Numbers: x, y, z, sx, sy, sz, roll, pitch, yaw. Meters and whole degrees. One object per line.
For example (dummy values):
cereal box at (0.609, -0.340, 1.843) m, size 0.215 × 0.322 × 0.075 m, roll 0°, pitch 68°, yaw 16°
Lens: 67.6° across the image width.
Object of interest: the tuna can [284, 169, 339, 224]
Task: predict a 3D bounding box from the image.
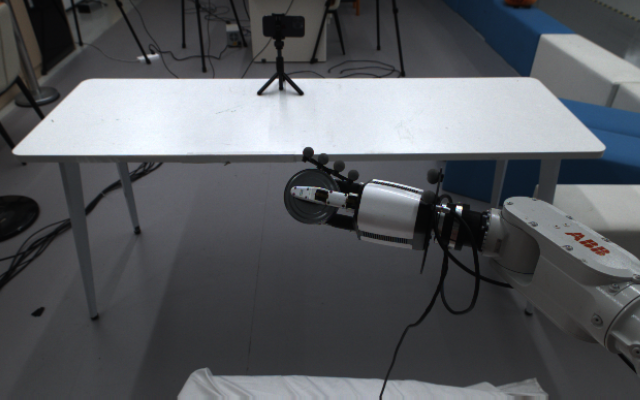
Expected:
tuna can at (-0.010, -0.004, 0.748) m, size 0.085 × 0.085 × 0.034 m, roll 10°, pitch -4°, yaw 11°
